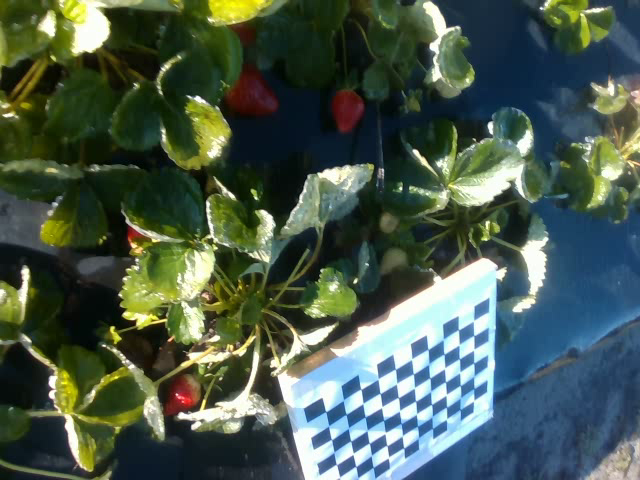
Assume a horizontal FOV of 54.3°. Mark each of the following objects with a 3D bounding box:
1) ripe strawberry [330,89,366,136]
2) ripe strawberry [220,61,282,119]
[{"bbox_3d":[0.029,-0.120,0.596,0.039,0.047,0.040,15,-1,-40],"label":"ripe strawberry"},{"bbox_3d":[-0.054,-0.125,0.551,0.056,0.044,0.040,29,0,-40],"label":"ripe strawberry"}]
